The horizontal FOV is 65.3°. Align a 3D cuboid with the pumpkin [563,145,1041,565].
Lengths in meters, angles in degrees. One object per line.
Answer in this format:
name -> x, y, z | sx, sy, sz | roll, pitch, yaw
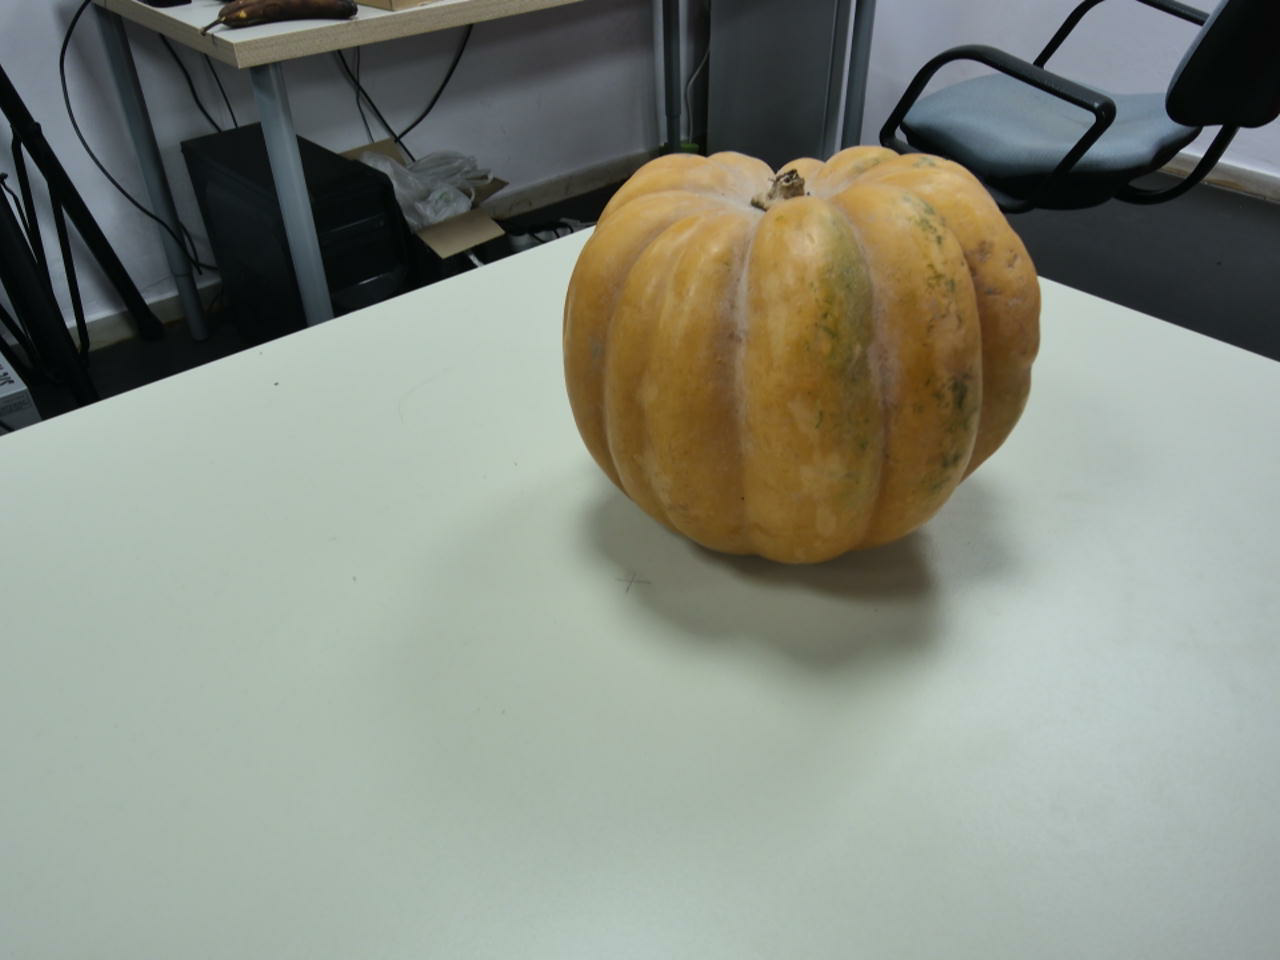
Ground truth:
pumpkin -> 0.074, -0.064, 0.494 | 0.230, 0.194, 0.230 | 0, 36, 0
